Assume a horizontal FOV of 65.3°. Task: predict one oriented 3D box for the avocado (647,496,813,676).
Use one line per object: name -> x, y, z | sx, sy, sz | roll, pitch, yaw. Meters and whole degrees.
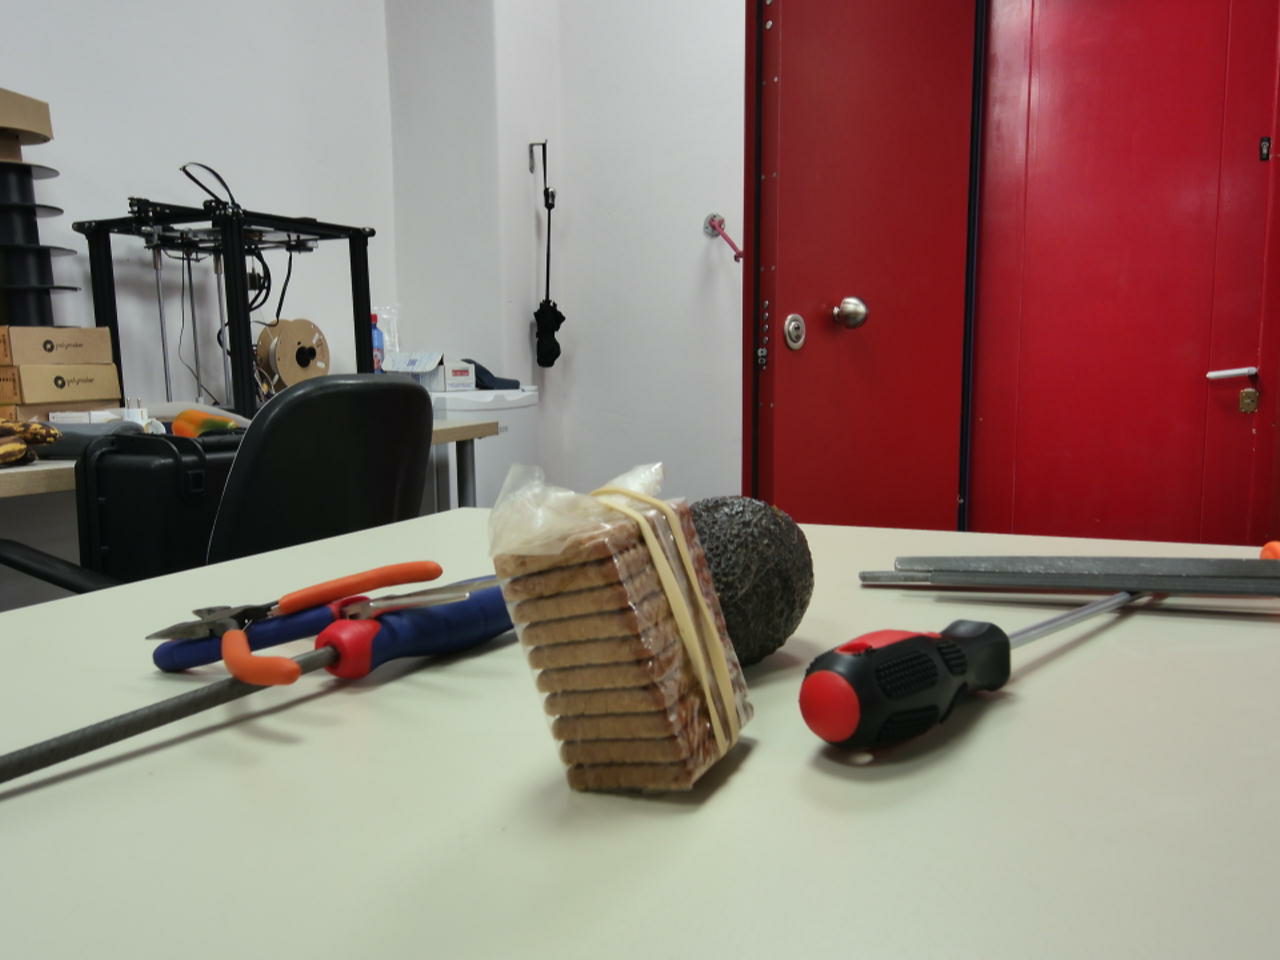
avocado -> 0.034, 0.042, 0.423 | 0.090, 0.069, 0.070 | -3, 4, -40
